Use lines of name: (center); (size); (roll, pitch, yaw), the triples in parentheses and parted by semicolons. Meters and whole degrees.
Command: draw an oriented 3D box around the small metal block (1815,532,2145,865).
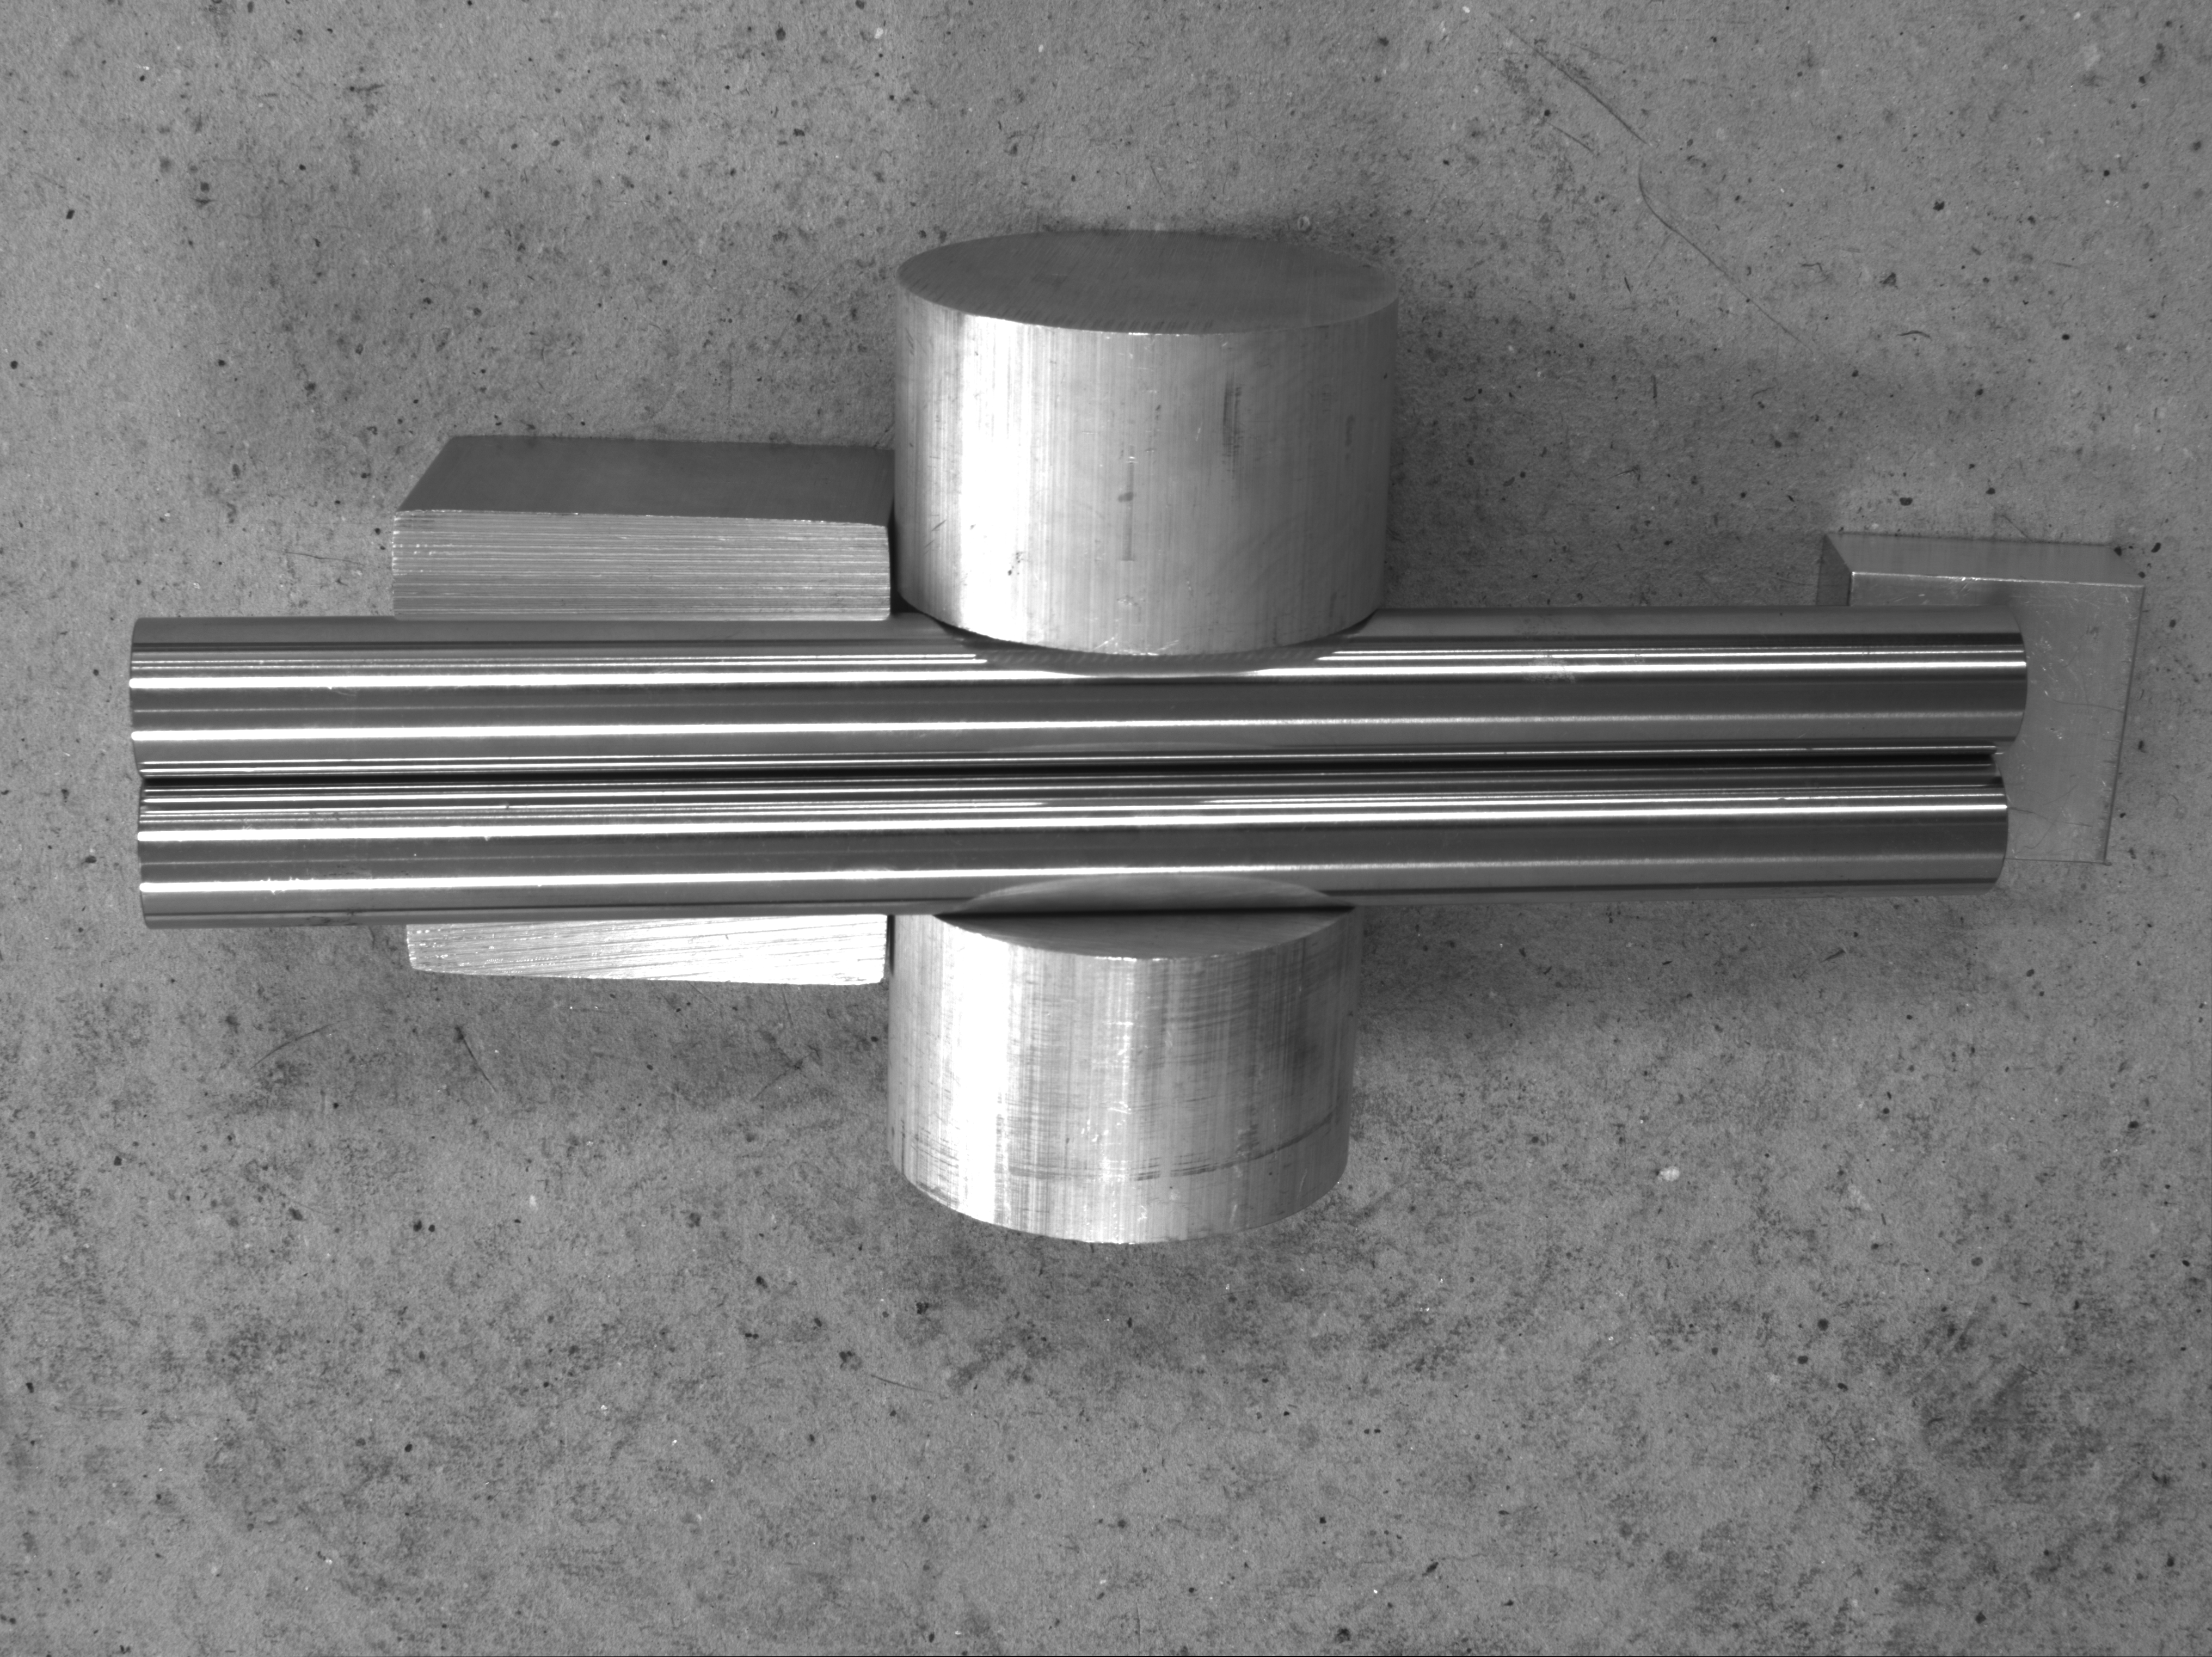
small metal block: (0.148, -0.023, 0.637); (0.050, 0.025, 0.050); (3, 110, -1)

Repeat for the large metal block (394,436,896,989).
large metal block: (-0.075, -0.020, 0.624); (0.080, 0.050, 0.080); (2, 110, -1)

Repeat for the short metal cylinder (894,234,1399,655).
short metal cylinder: (0.006, -0.064, 0.592); (0.080, 0.080, 0.050); (1, 110, 0)

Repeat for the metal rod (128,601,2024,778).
metal rod: (-0.001, -0.023, 0.588); (0.300, 0.025, 0.025); (-1, 110, -8)

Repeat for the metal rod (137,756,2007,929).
metal rod: (-0.002, 0.001, 0.597); (0.300, 0.025, 0.025); (-1, 110, -8)

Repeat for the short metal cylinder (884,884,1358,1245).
short metal cylinder: (0.002, 0.031, 0.626); (0.080, 0.080, 0.050); (1, 110, 0)
